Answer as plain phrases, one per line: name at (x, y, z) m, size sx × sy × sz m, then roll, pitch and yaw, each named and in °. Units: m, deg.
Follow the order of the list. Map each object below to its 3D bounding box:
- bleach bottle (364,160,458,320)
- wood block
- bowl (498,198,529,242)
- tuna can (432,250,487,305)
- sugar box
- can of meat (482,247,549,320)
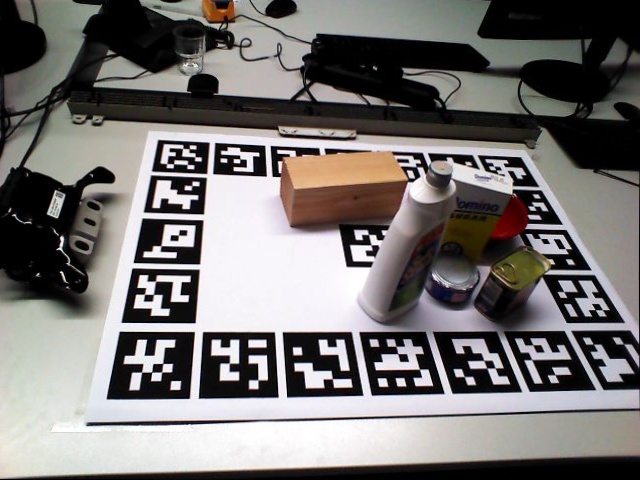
bleach bottle at (0.131, 0.000, 0.709) m, size 0.102 × 0.252 × 0.068 m, roll -19°, pitch 50°, yaw -26°
wood block at (0.045, -0.092, 0.908) m, size 0.206 × 0.090 × 0.090 m, roll -5°, pitch 50°, yaw -16°
bowl at (0.303, -0.046, 0.923) m, size 0.162 × 0.055 × 0.160 m, roll 2°, pitch 44°, yaw -2°
tuna can at (0.215, 0.059, 0.813) m, size 0.086 × 0.034 × 0.085 m, roll 4°, pitch 48°, yaw -5°
sugar box at (0.240, -0.034, 0.810) m, size 0.093 × 0.177 × 0.045 m, roll 14°, pitch 46°, yaw 9°
can of meat at (0.304, 0.065, 0.794) m, size 0.101 × 0.084 × 0.058 m, roll -22°, pitch 49°, yaw -30°
